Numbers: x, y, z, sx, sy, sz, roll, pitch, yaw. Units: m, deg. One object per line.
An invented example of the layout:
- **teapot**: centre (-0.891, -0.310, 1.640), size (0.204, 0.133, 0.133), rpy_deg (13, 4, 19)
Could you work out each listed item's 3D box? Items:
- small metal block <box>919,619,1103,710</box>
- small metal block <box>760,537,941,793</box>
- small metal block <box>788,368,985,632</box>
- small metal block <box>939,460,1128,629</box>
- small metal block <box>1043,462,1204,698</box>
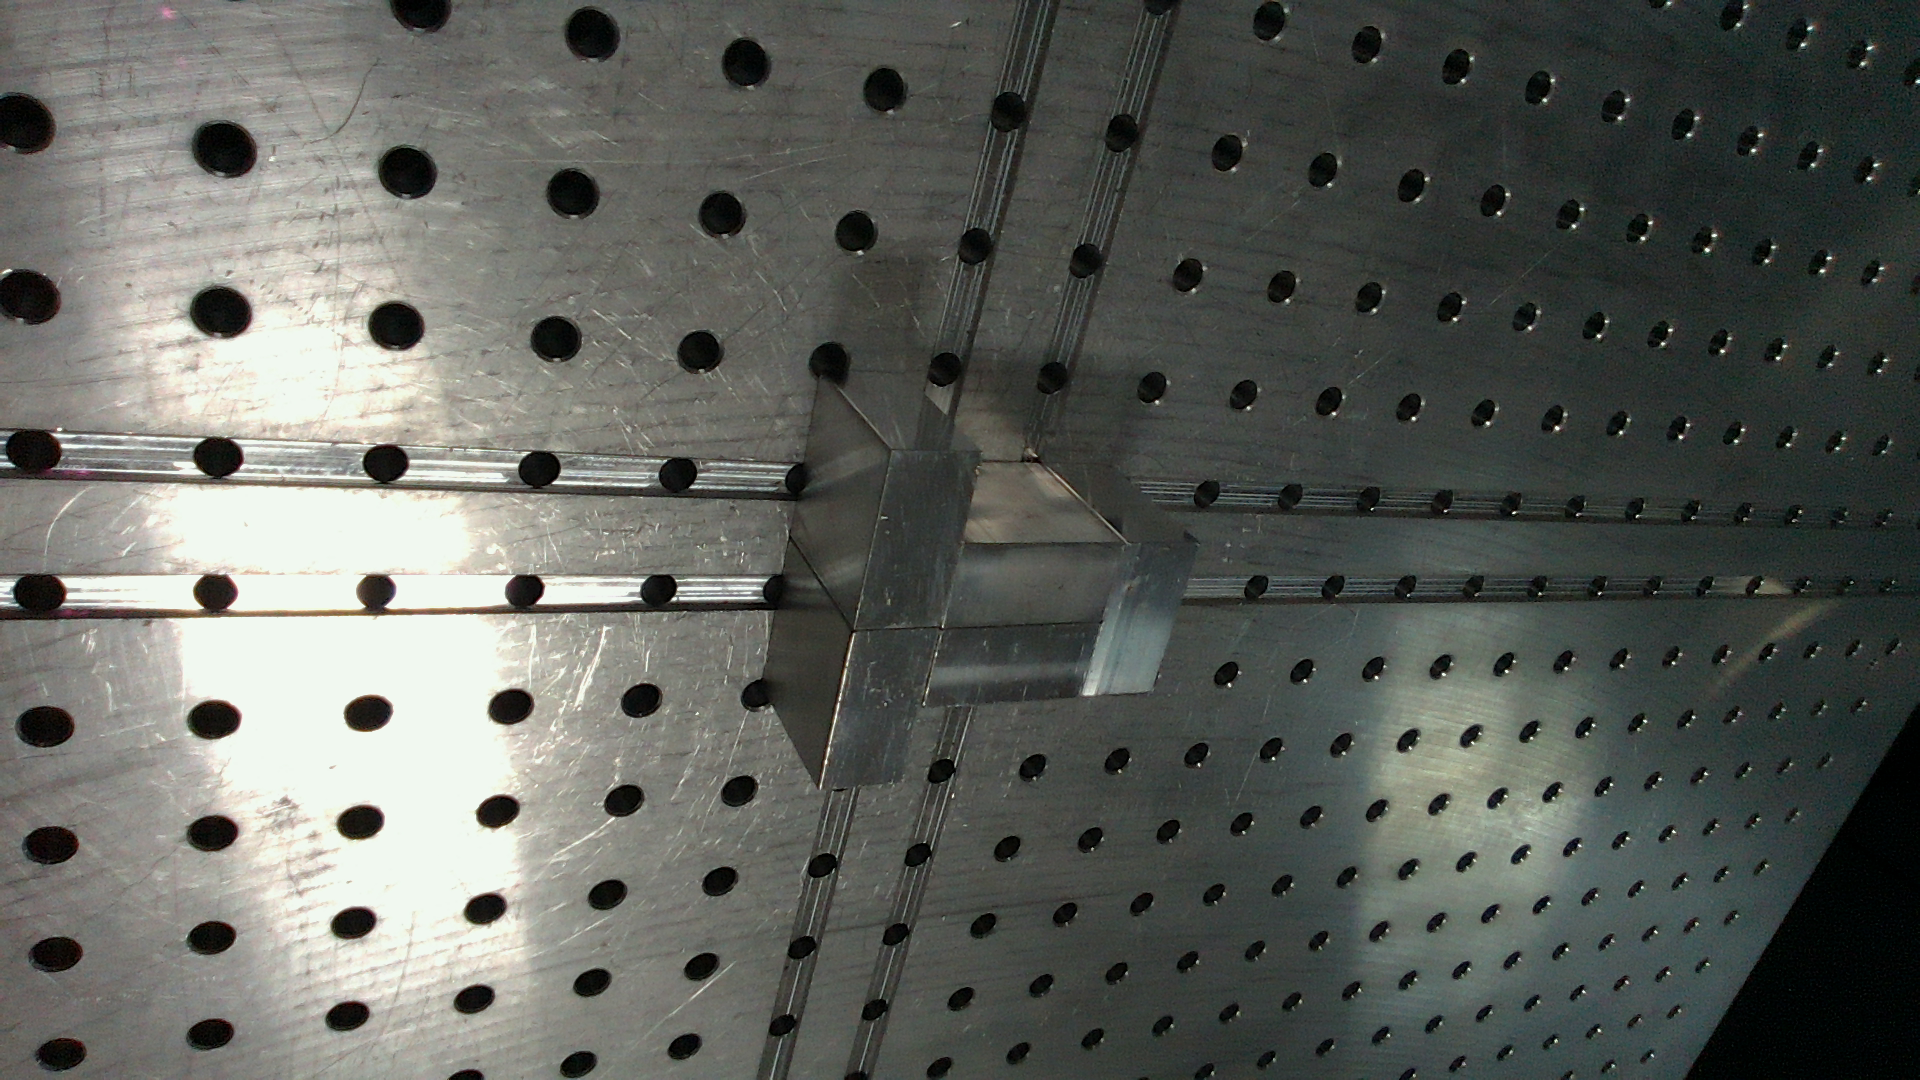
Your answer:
- **small metal block**: centre (0.004, 0.022, 0.391), size (0.050, 0.050, 0.025), rpy_deg (0, 119, -28)
- **small metal block**: centre (-0.032, 0.033, 0.378), size (0.025, 0.050, 0.050), rpy_deg (0, 119, -28)
- **small metal block**: centre (-0.021, -0.011, 0.357), size (0.025, 0.050, 0.050), rpy_deg (0, 119, -28)
- **small metal block**: centre (0.010, 0.000, 0.380), size (0.050, 0.050, 0.025), rpy_deg (0, 119, -28)
- **small metal block**: centre (0.041, 0.011, 0.404), size (0.025, 0.050, 0.050), rpy_deg (0, 119, -28)
